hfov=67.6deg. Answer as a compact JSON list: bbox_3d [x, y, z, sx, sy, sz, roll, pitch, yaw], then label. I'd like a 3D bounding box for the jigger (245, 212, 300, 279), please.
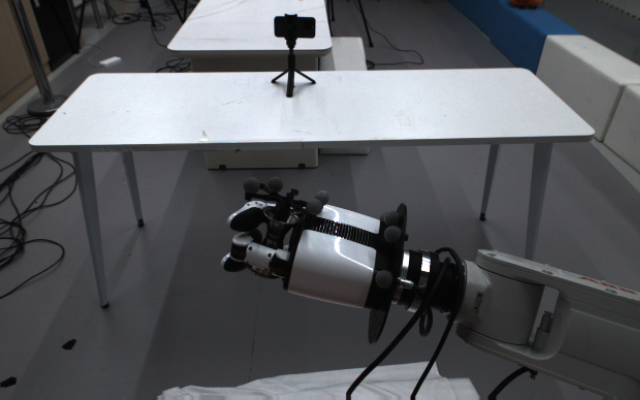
[{"bbox_3d":[-0.048,0.047,0.543,0.043,0.071,0.043,15,17,-5],"label":"jigger"}]
